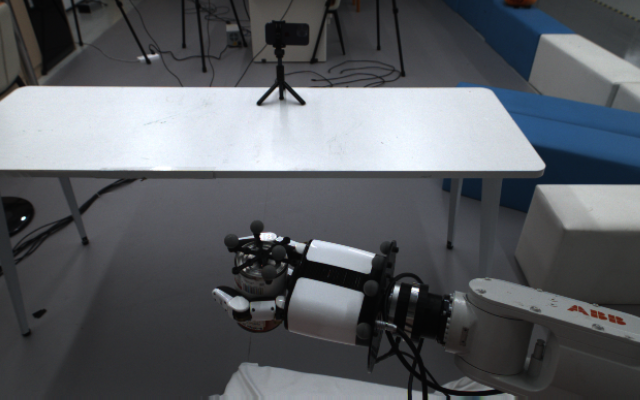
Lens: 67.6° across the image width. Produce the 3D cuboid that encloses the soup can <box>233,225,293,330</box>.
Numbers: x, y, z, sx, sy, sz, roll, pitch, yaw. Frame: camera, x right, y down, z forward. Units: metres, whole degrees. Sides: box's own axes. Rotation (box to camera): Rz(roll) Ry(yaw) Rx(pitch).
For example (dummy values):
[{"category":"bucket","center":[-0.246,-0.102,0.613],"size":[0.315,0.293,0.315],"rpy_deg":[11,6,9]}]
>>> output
[{"category":"soup can","center":[-0.074,0.112,0.616],"size":[0.067,0.101,0.067],"rpy_deg":[5,36,-4]}]
